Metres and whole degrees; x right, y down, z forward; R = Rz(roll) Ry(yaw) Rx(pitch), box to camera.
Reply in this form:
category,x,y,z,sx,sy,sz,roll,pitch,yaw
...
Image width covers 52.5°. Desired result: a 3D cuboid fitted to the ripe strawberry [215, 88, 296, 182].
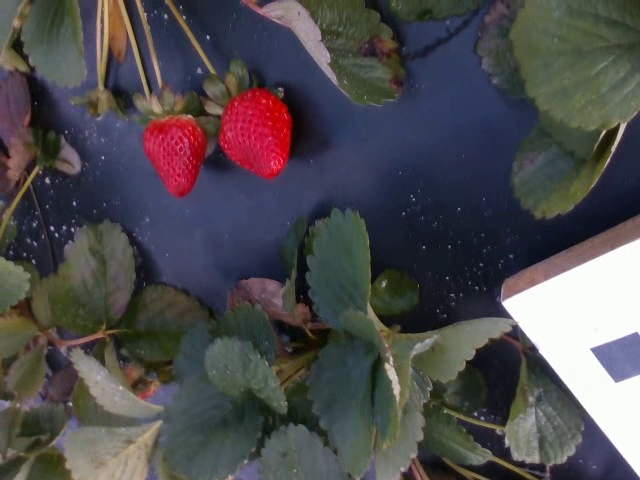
category,x,y,z,sx,sy,sz,roll,pitch,yaw
ripe strawberry,-0.040,-0.059,0.387,0.051,0.064,0.058,-4,-42,-43

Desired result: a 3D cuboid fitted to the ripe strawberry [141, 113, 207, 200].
category,x,y,z,sx,sy,sz,roll,pitch,yaw
ripe strawberry,-0.094,-0.054,0.420,0.048,0.056,0.041,-16,-4,29
